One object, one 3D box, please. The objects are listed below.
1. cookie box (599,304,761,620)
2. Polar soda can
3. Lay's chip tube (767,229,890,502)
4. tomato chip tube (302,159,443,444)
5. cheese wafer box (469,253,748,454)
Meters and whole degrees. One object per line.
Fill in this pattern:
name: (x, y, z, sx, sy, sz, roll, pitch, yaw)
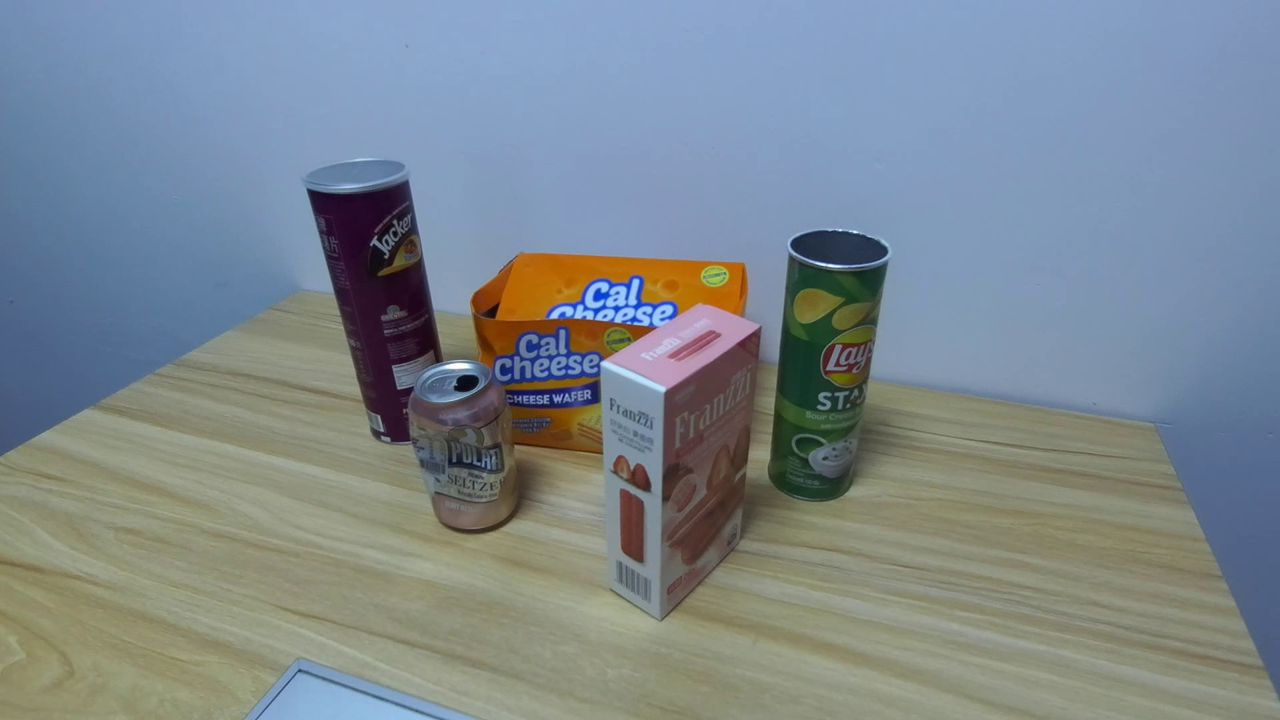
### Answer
cookie box: (0.026, 0.067, 0.453, 0.048, 0.185, 0.096, 24, 40, 33)
Polar soda can: (-0.129, 0.066, 0.528, 0.067, 0.122, 0.074, -21, 35, -28)
Lay's chip tube: (0.137, 0.007, 0.528, 0.071, 0.203, 0.071, -1, 32, 1)
tomato chip tube: (-0.217, -0.044, 0.605, 0.078, 0.234, 0.078, 0, 31, 1)
cheese wafer box: (-0.024, -0.006, 0.639, 0.230, 0.132, 0.152, 5, 33, 10)
